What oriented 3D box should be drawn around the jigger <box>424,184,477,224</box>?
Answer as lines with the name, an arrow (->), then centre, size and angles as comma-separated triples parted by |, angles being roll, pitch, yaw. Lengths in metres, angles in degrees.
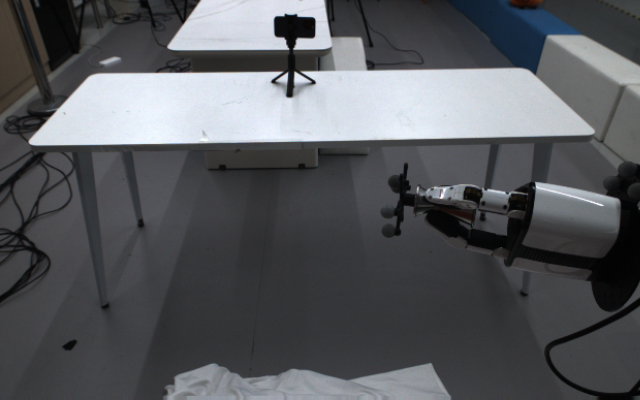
jigger -> 0.153, 0.001, 0.564 | 0.071, 0.043, 0.043 | 7, 35, 16
